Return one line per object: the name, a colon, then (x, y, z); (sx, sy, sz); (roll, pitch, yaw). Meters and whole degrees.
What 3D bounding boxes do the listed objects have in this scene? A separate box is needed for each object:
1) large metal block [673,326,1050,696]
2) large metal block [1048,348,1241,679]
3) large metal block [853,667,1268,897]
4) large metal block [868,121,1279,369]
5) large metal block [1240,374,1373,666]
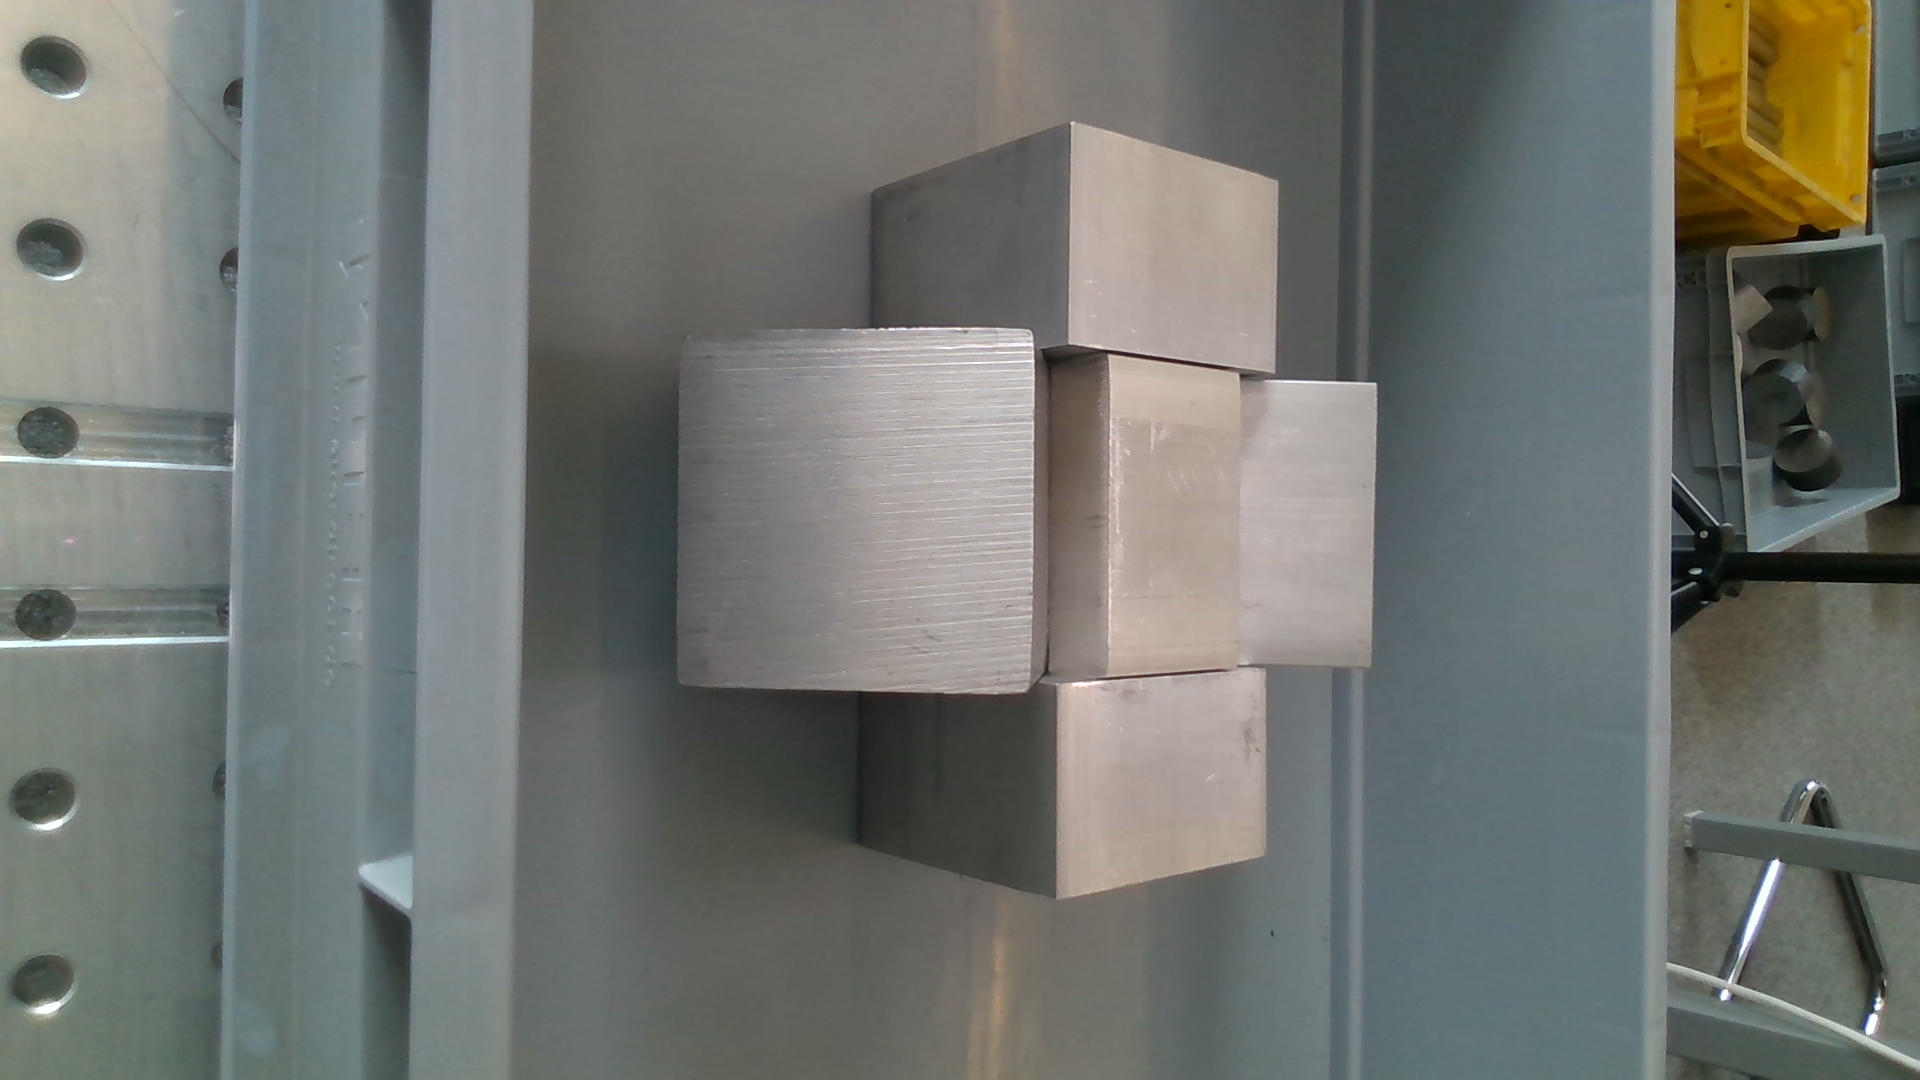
large metal block: (-0.021, -0.007, 0.328); (0.050, 0.080, 0.080); (-3, 94, -82)
large metal block: (0.029, -0.006, 0.379); (0.050, 0.080, 0.080); (1, 89, -40)
large metal block: (0.027, 0.059, 0.377); (0.080, 0.080, 0.050); (1, 89, -40)
large metal block: (0.031, -0.073, 0.380); (0.080, 0.080, 0.050); (1, 89, -40)
large metal block: (0.087, -0.005, 0.420); (0.050, 0.080, 0.080); (1, 89, -3)
